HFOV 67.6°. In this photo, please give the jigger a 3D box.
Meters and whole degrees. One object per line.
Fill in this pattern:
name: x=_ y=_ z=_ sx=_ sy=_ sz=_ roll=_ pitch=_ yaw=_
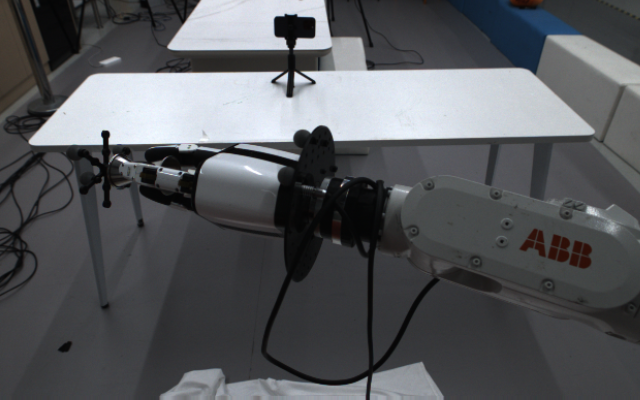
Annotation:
jigger: x=-0.192 y=-0.034 z=0.546 sx=0.071 sy=0.043 sz=0.043 roll=5 pitch=34 yaw=16
